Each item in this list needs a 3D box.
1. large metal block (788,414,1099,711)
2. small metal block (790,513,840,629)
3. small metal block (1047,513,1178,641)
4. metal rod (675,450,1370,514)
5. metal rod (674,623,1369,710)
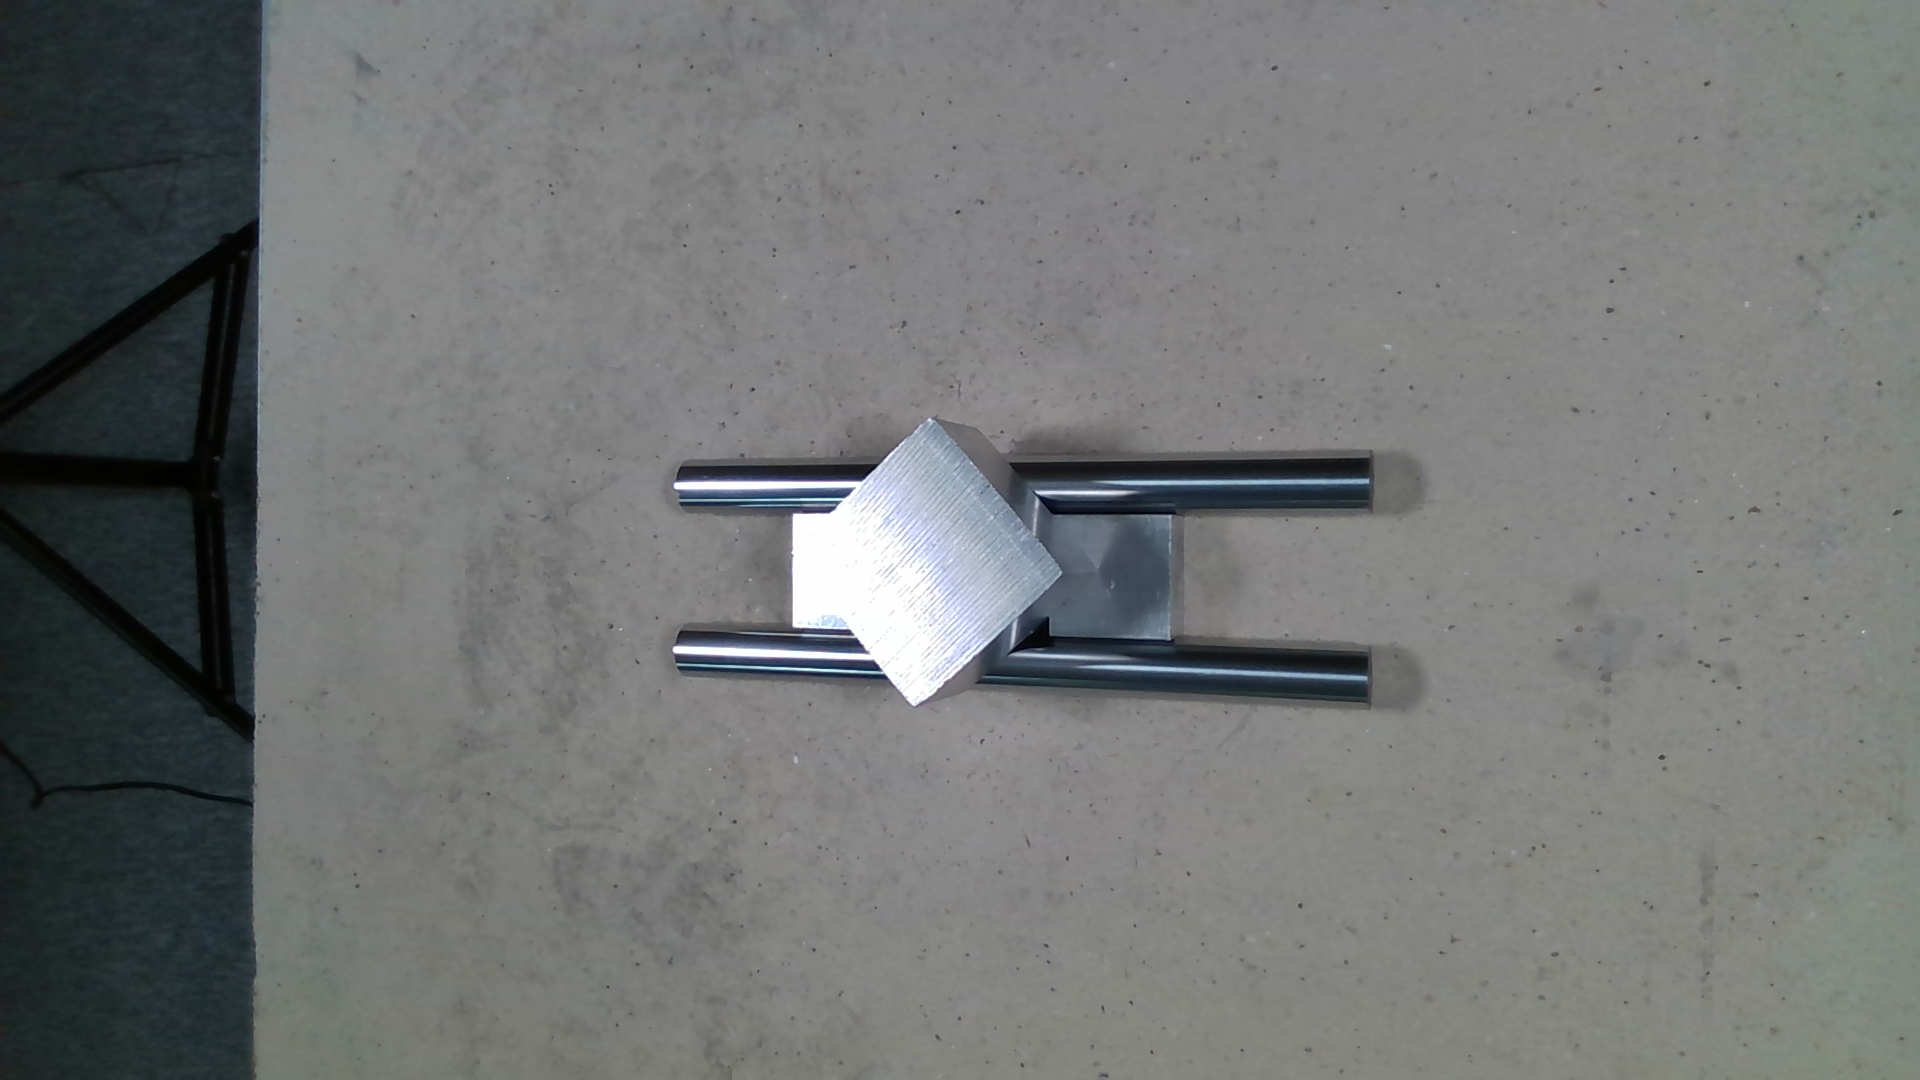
[{"bbox_3d":[-0.006,0.009,0.546,0.080,0.050,0.080,-43,77,15],"label":"large metal block"},{"bbox_3d":[-0.046,0.013,0.602,0.050,0.025,0.050,1,91,20],"label":"small metal block"},{"bbox_3d":[0.063,0.014,0.561,0.050,0.025,0.050,1,91,20],"label":"small metal block"},{"bbox_3d":[0.017,-0.024,0.580,0.300,0.025,0.025,0,91,20],"label":"metal rod"},{"bbox_3d":[0.016,0.052,0.581,0.300,0.025,0.025,0,91,20],"label":"metal rod"}]
